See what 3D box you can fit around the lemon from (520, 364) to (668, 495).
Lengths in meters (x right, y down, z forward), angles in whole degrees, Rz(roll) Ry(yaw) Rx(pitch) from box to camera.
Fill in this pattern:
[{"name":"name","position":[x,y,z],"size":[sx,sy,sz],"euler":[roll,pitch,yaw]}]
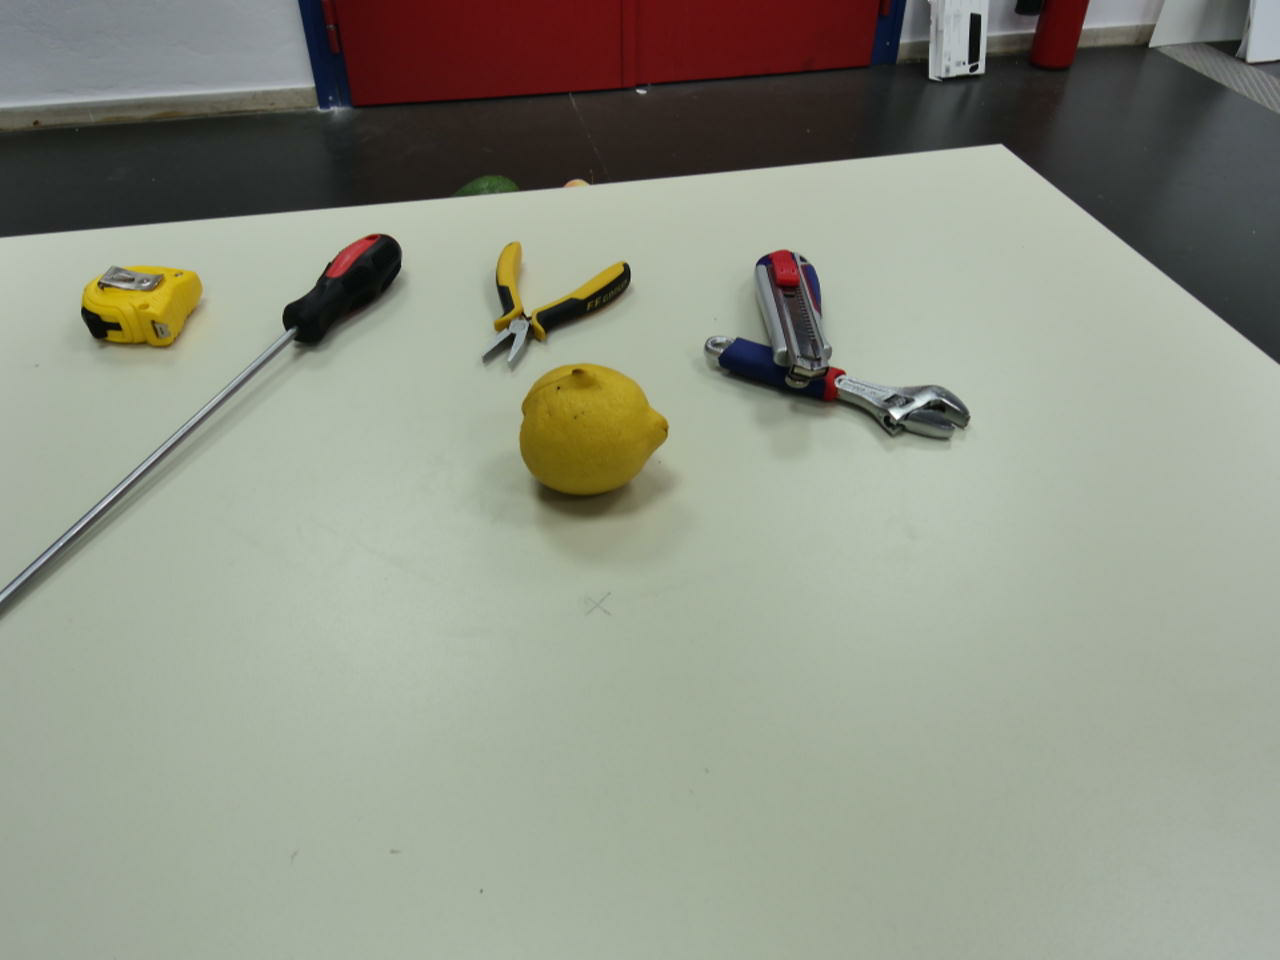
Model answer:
[{"name":"lemon","position":[-0.028,-0.029,0.516],"size":[0.071,0.071,0.070],"euler":[32,48,32]}]
